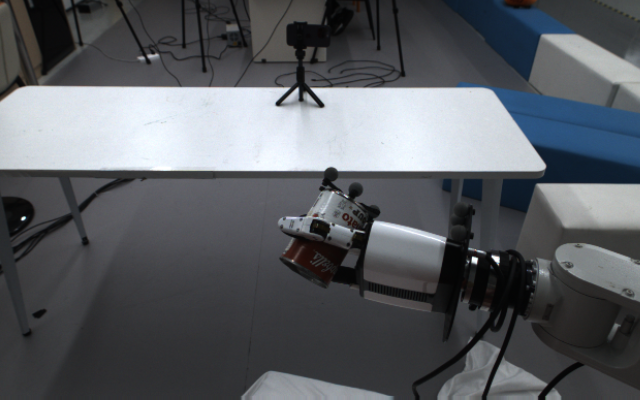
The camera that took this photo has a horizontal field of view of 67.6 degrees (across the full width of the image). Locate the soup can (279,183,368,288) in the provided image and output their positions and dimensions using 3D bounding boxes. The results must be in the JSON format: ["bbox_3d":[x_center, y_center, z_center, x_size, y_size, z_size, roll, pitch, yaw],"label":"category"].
[{"bbox_3d":[0.007,0.045,0.581,0.067,0.067,0.101,24,73,28],"label":"soup can"}]
